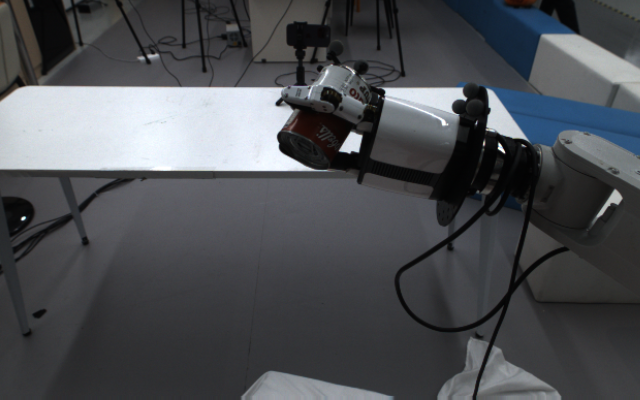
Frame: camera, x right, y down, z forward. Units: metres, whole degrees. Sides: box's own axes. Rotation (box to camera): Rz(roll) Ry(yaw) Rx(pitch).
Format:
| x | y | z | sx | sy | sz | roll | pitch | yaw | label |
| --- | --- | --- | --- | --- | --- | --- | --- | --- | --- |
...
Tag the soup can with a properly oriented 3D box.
| x | y | z | sx | sy | sz | roll | pitch | yaw | label |
| --- | --- | --- | --- | --- | --- | --- | --- | --- | --- |
| 0.008 | -0.094 | 0.545 | 0.067 | 0.067 | 0.101 | 22 | 71 | 27 | soup can |
